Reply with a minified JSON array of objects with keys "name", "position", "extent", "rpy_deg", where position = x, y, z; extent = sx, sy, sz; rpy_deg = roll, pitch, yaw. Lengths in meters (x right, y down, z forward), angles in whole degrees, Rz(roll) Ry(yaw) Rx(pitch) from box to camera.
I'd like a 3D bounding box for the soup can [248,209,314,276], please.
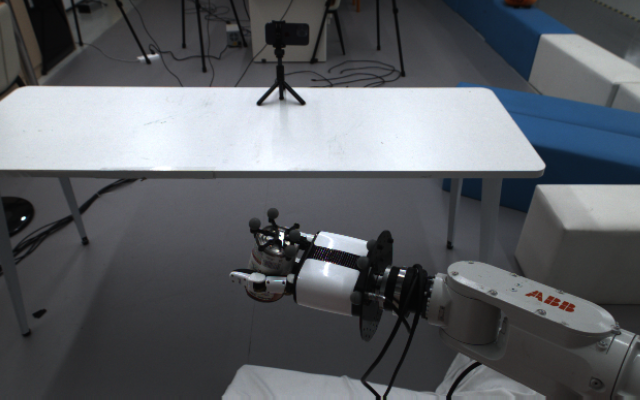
[{"name":"soup can","position":[-0.073,0.098,0.732],"extent":[0.067,0.101,0.067],"rpy_deg":[13,35,-9]}]
